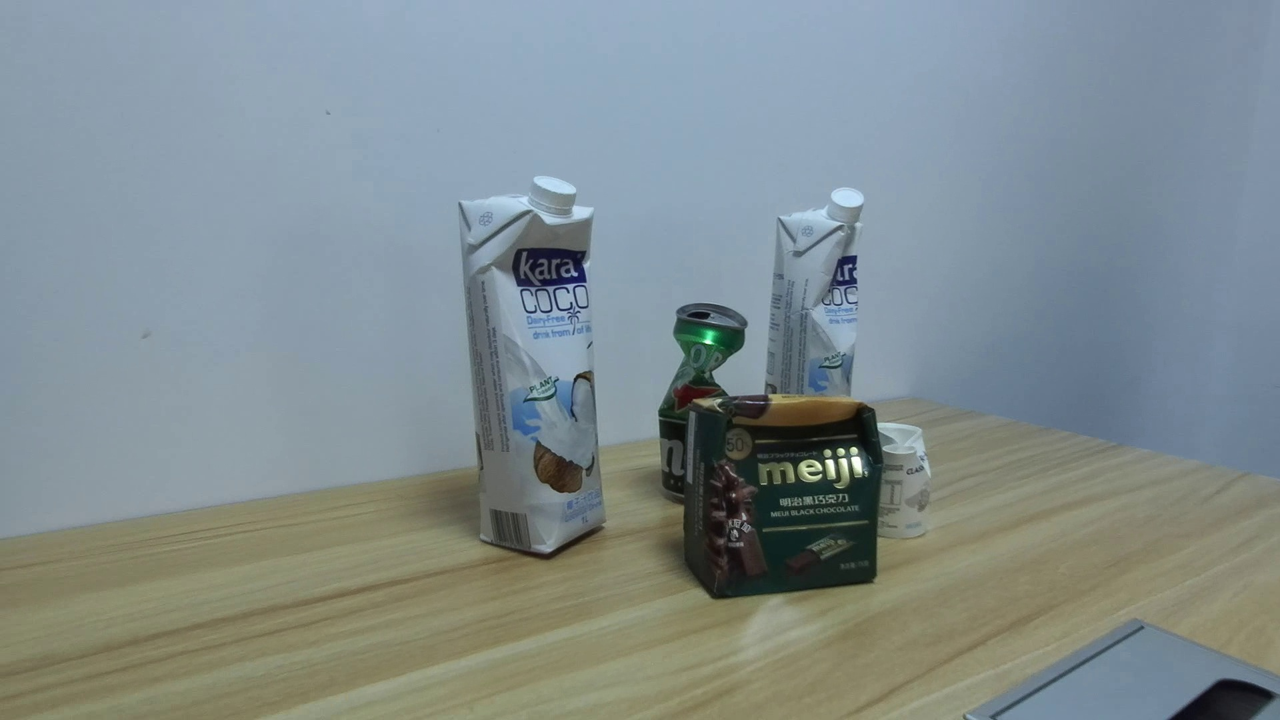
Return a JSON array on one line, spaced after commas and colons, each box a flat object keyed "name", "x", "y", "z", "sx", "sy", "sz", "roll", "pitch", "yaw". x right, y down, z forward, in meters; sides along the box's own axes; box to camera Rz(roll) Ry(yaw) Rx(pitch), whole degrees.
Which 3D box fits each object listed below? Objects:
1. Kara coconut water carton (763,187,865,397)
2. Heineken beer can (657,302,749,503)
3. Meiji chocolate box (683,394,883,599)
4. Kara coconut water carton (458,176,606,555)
[{"name": "Kara coconut water carton", "x": 0.158, "y": -0.026, "z": 0.647, "sx": 0.084, "sy": 0.255, "sz": 0.078, "roll": -7, "pitch": 14, "yaw": -42}, {"name": "Heineken beer can", "x": 0.051, "y": 0.036, "z": 0.566, "sx": 0.067, "sy": 0.159, "sz": 0.078, "roll": -9, "pitch": 21, "yaw": -30}, {"name": "Meiji chocolate box", "x": 0.087, "y": 0.084, "z": 0.447, "sx": 0.113, "sy": 0.110, "sz": 0.058, "roll": -1, "pitch": -1, "yaw": -12}, {"name": "Kara coconut water carton", "x": -0.070, "y": 0.002, "z": 0.485, "sx": 0.071, "sy": 0.244, "sz": 0.100, "roll": 3, "pitch": 11, "yaw": 31}]
